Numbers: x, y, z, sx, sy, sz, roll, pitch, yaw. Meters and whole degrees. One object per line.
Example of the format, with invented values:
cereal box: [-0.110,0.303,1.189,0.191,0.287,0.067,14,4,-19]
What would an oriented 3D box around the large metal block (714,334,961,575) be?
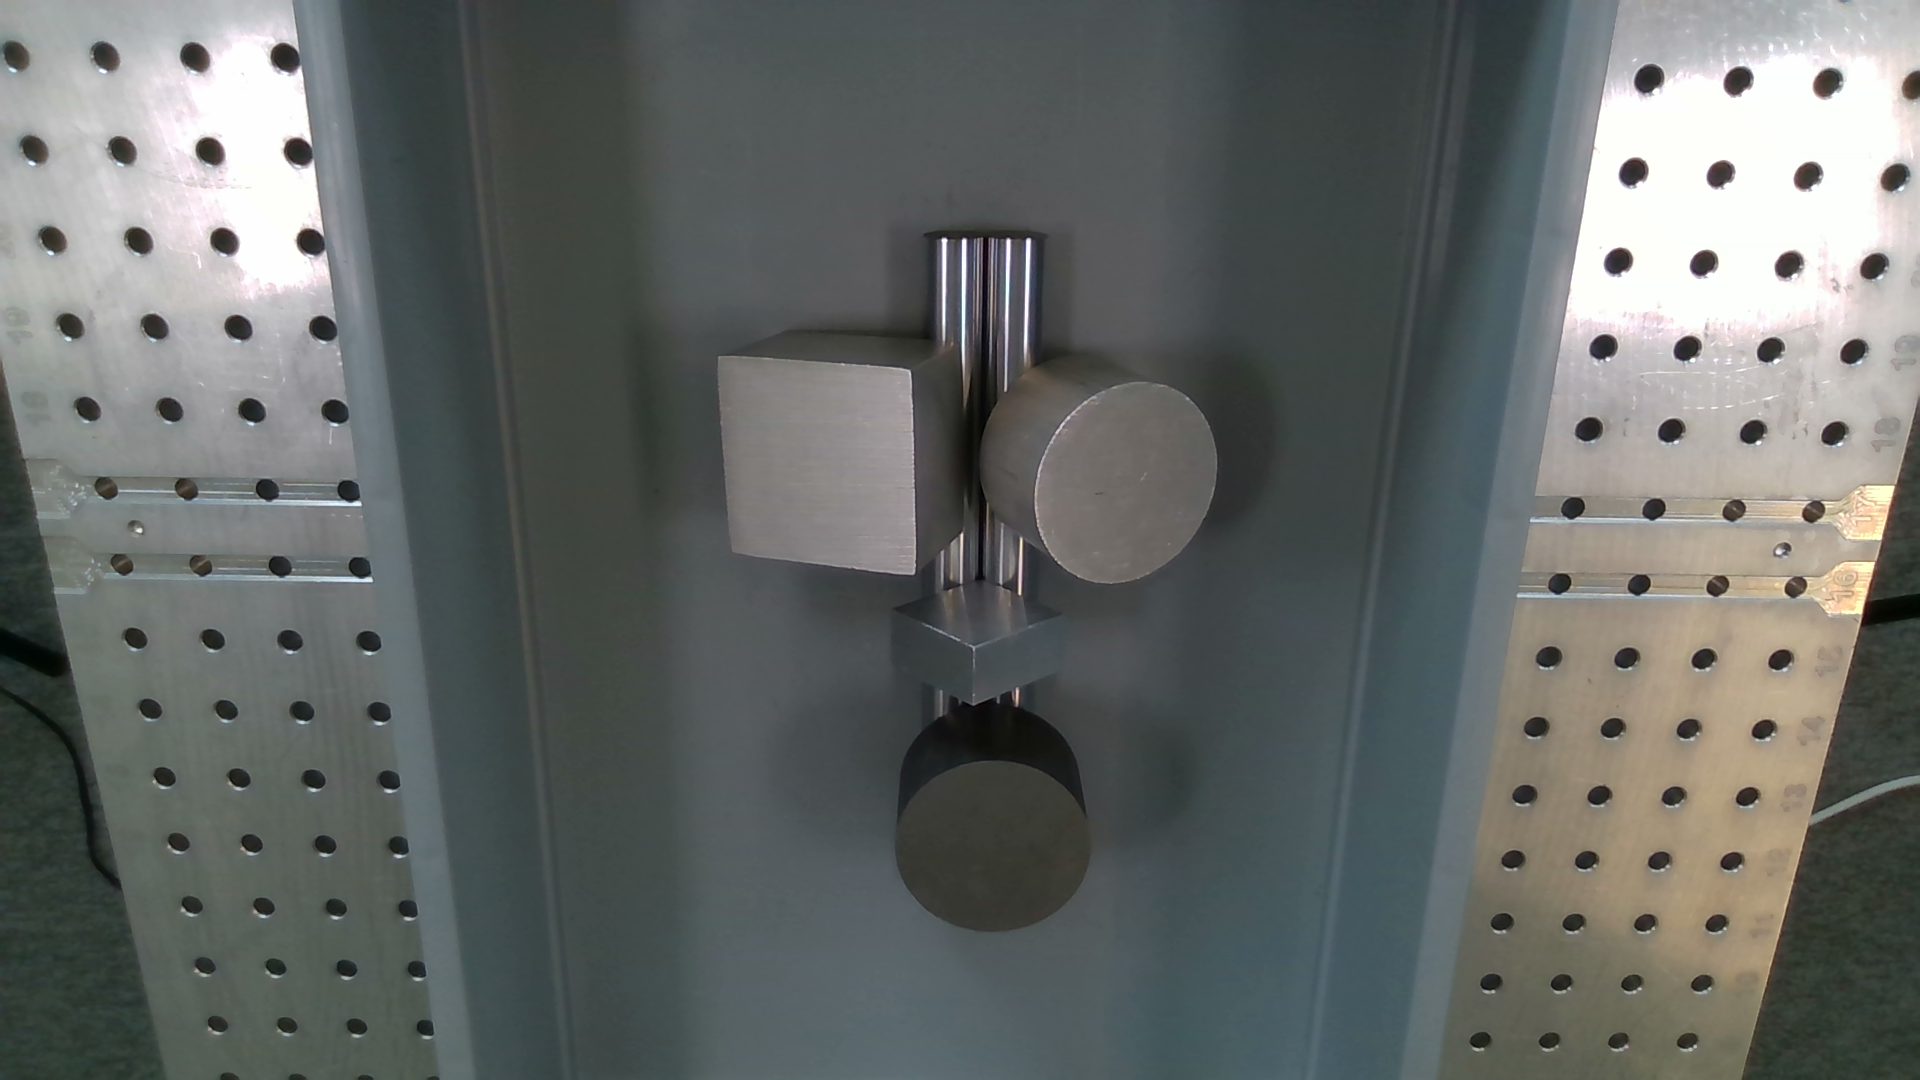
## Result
large metal block: [-0.046,-0.037,0.542,0.080,0.050,0.080,6,112,19]

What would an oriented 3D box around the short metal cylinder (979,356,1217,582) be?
short metal cylinder: [0.054,-0.029,0.544,0.080,0.050,0.080,-9,113,-22]

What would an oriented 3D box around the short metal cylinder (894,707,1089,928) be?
short metal cylinder: [0.013,0.117,0.587,0.080,0.050,0.080,0,110,0]

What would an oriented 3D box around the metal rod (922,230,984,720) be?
metal rod: [-0.004,0.021,0.592,0.025,0.025,0.301,1,110,0]

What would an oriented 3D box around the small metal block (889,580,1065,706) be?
small metal block: [0.007,0.039,0.555,0.050,0.050,0.025,-17,117,-39]

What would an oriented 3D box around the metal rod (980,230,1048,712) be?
metal rod: [0.021,0.021,0.592,0.025,0.025,0.301,1,110,0]
